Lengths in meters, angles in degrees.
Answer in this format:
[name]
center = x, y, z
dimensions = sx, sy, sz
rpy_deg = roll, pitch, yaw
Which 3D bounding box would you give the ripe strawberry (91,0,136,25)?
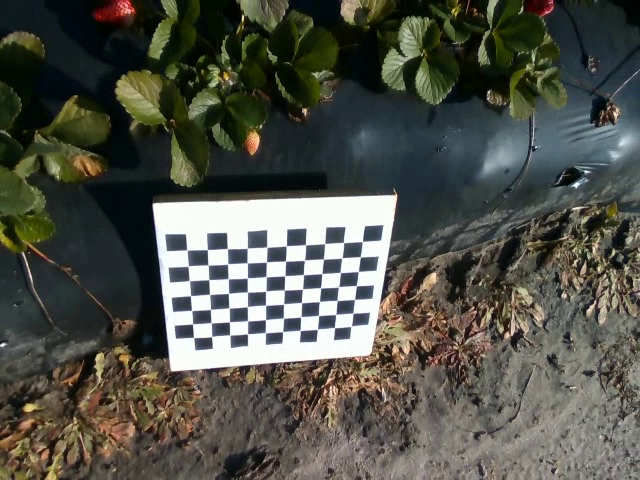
[ripe strawberry]
center = -0.210, -0.232, 0.645
dimensions = 0.055, 0.042, 0.045
rpy_deg = -21, 44, -23
